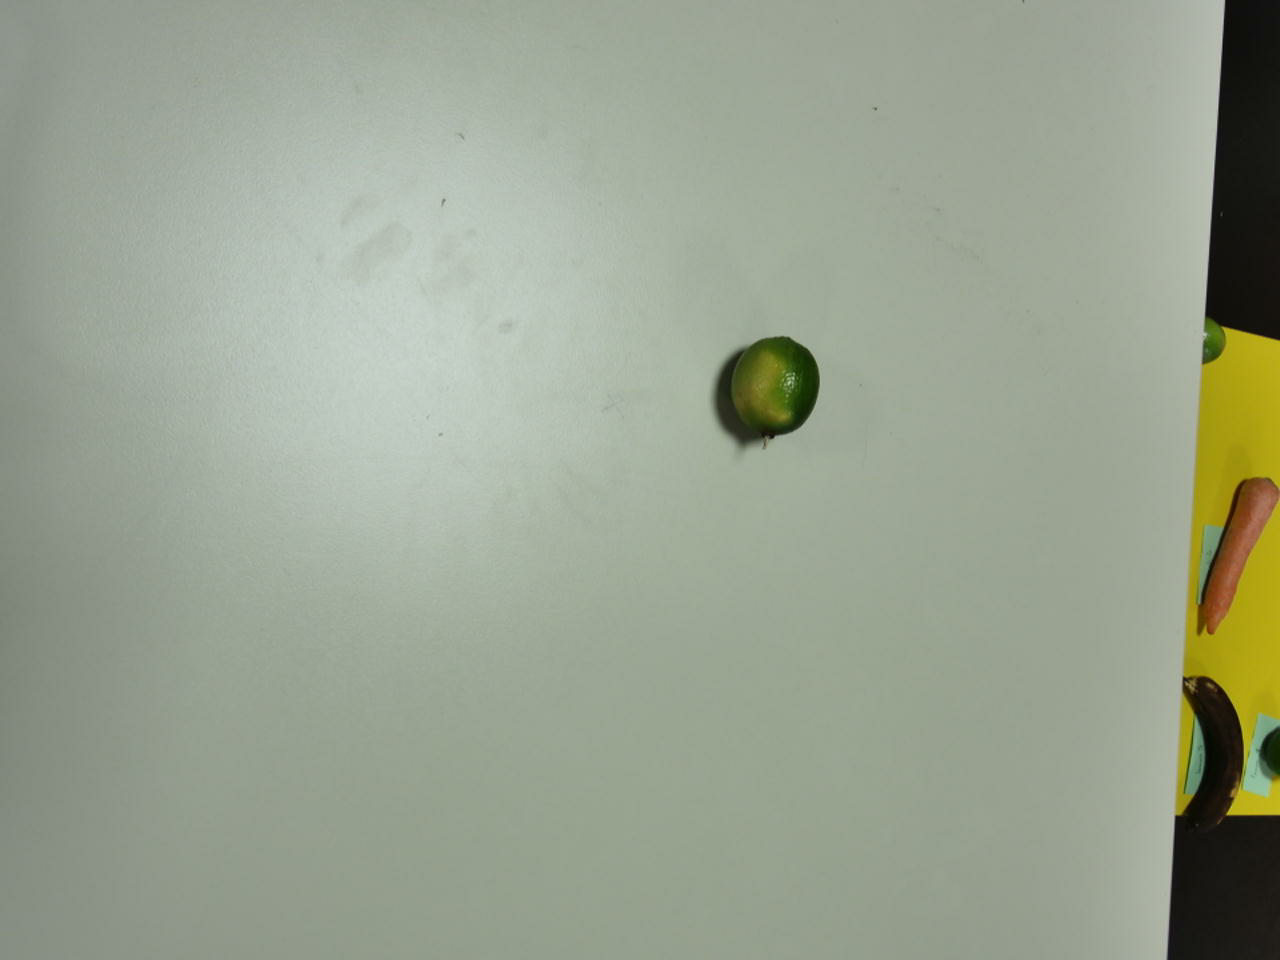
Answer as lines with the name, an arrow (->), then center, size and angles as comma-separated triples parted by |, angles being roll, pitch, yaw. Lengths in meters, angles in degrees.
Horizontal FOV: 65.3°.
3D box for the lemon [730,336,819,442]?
lemon -> 0.079, -0.055, 0.584 | 0.055, 0.050, 0.054 | -37, 104, -18
